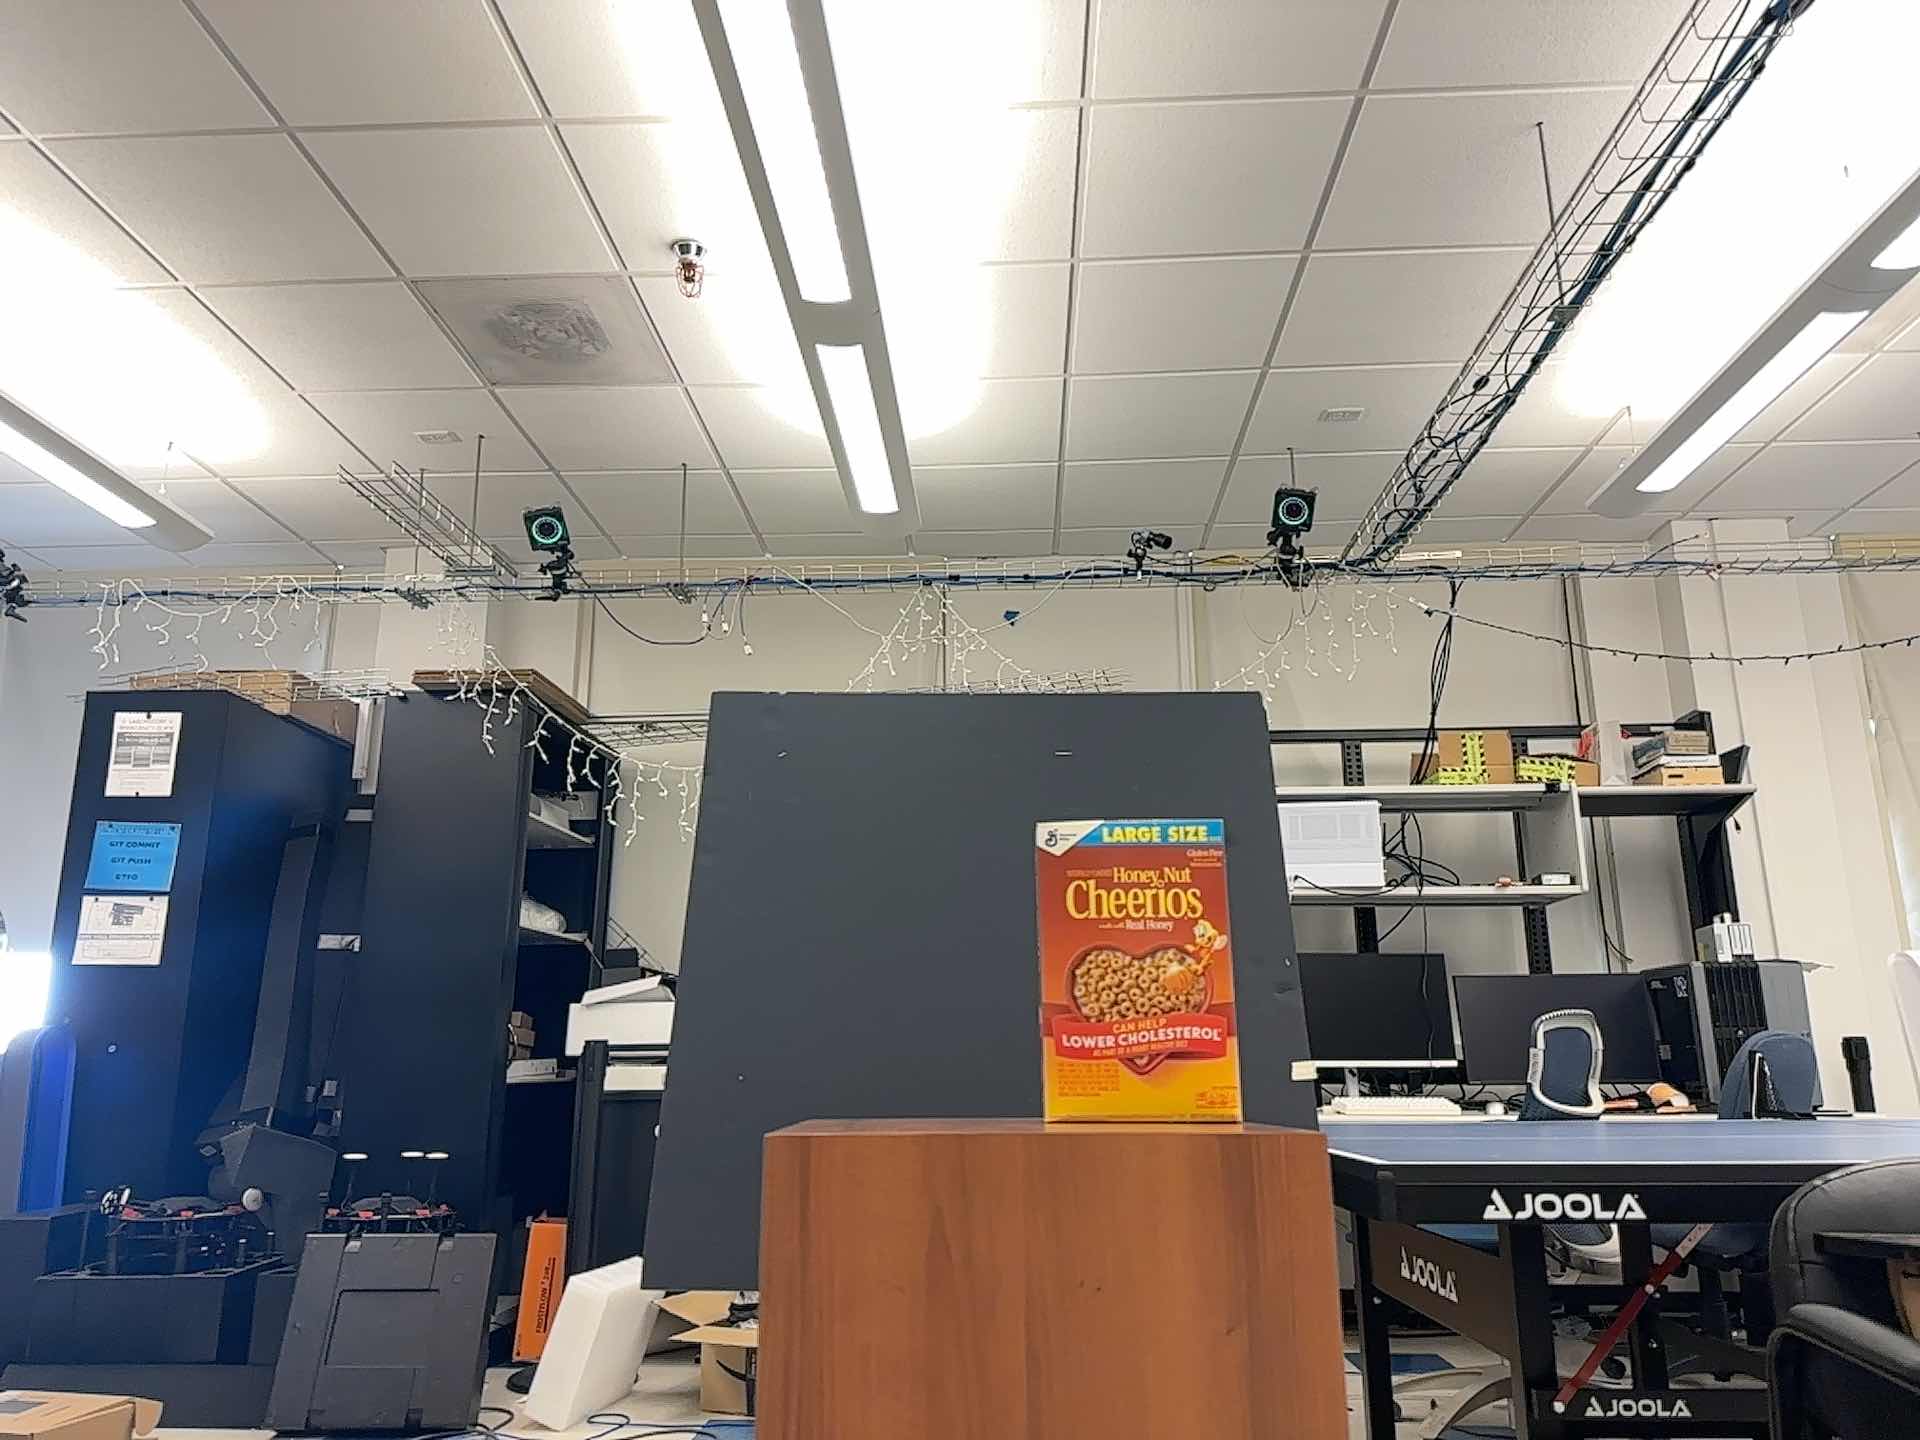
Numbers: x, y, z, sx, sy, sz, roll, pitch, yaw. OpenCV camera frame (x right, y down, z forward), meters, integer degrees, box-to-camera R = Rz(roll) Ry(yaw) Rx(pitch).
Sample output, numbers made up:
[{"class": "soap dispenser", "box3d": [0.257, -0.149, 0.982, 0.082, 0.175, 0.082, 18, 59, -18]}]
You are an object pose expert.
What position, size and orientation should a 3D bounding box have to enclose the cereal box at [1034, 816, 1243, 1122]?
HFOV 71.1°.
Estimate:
[{"class": "cereal box", "box3d": [0.182, 0.257, 1.399, 0.195, 0.297, 0.065, -2, -12, 9]}]
